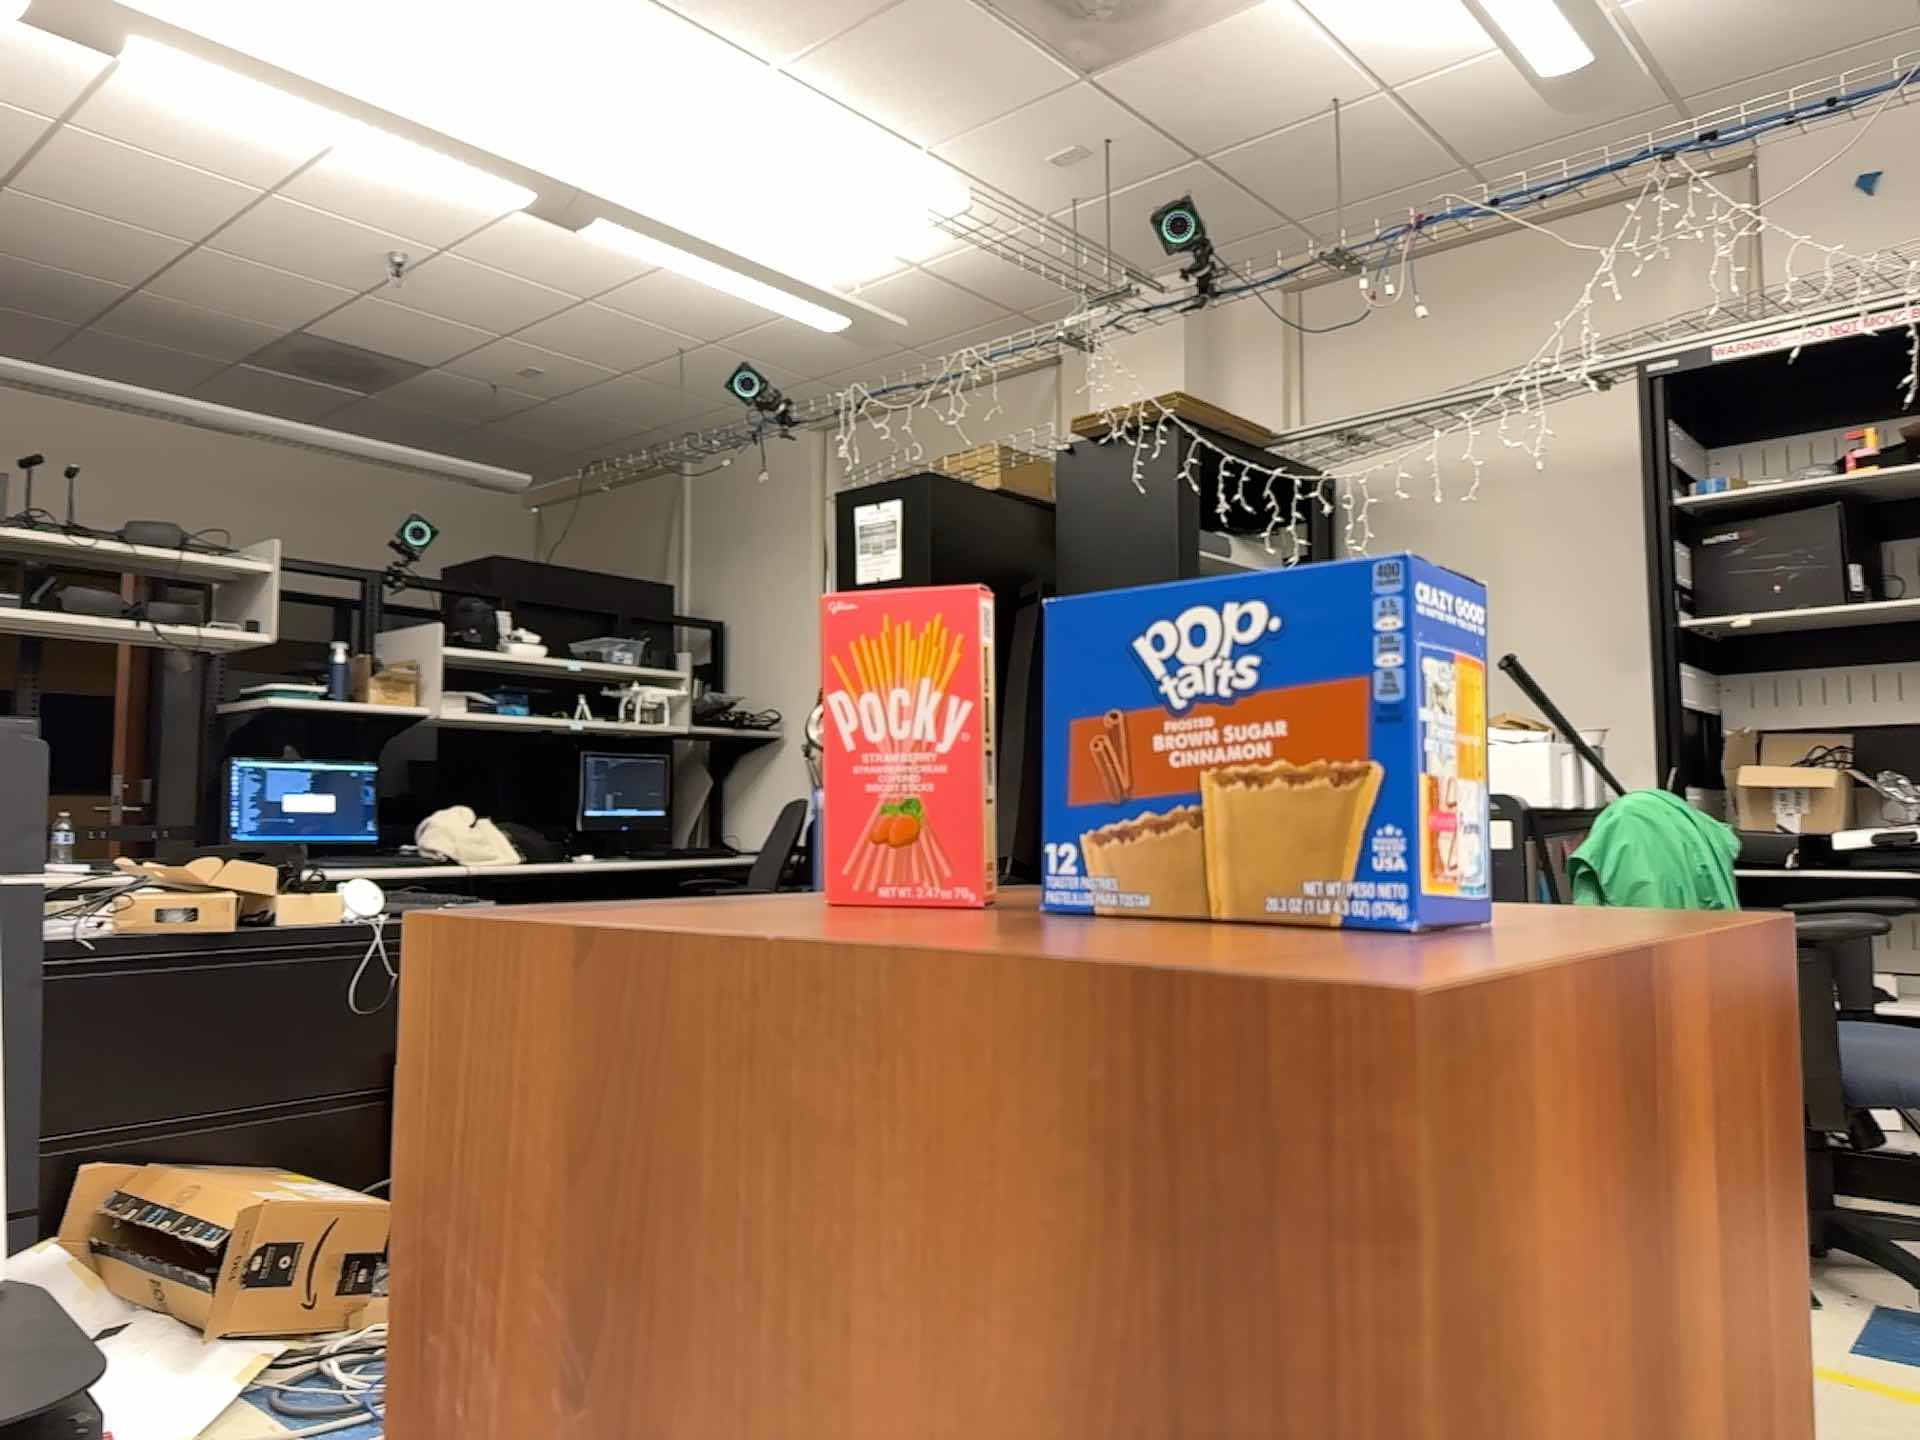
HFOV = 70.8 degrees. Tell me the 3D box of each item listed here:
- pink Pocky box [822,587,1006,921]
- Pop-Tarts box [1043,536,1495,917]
[{"bbox_3d":[-0.023,0.017,0.641,0.084,0.155,0.029,-2,-5,19],"label":"pink Pocky box"},{"bbox_3d":[0.125,0.009,0.565,0.161,0.135,0.075,-4,-9,40],"label":"Pop-Tarts box"}]
